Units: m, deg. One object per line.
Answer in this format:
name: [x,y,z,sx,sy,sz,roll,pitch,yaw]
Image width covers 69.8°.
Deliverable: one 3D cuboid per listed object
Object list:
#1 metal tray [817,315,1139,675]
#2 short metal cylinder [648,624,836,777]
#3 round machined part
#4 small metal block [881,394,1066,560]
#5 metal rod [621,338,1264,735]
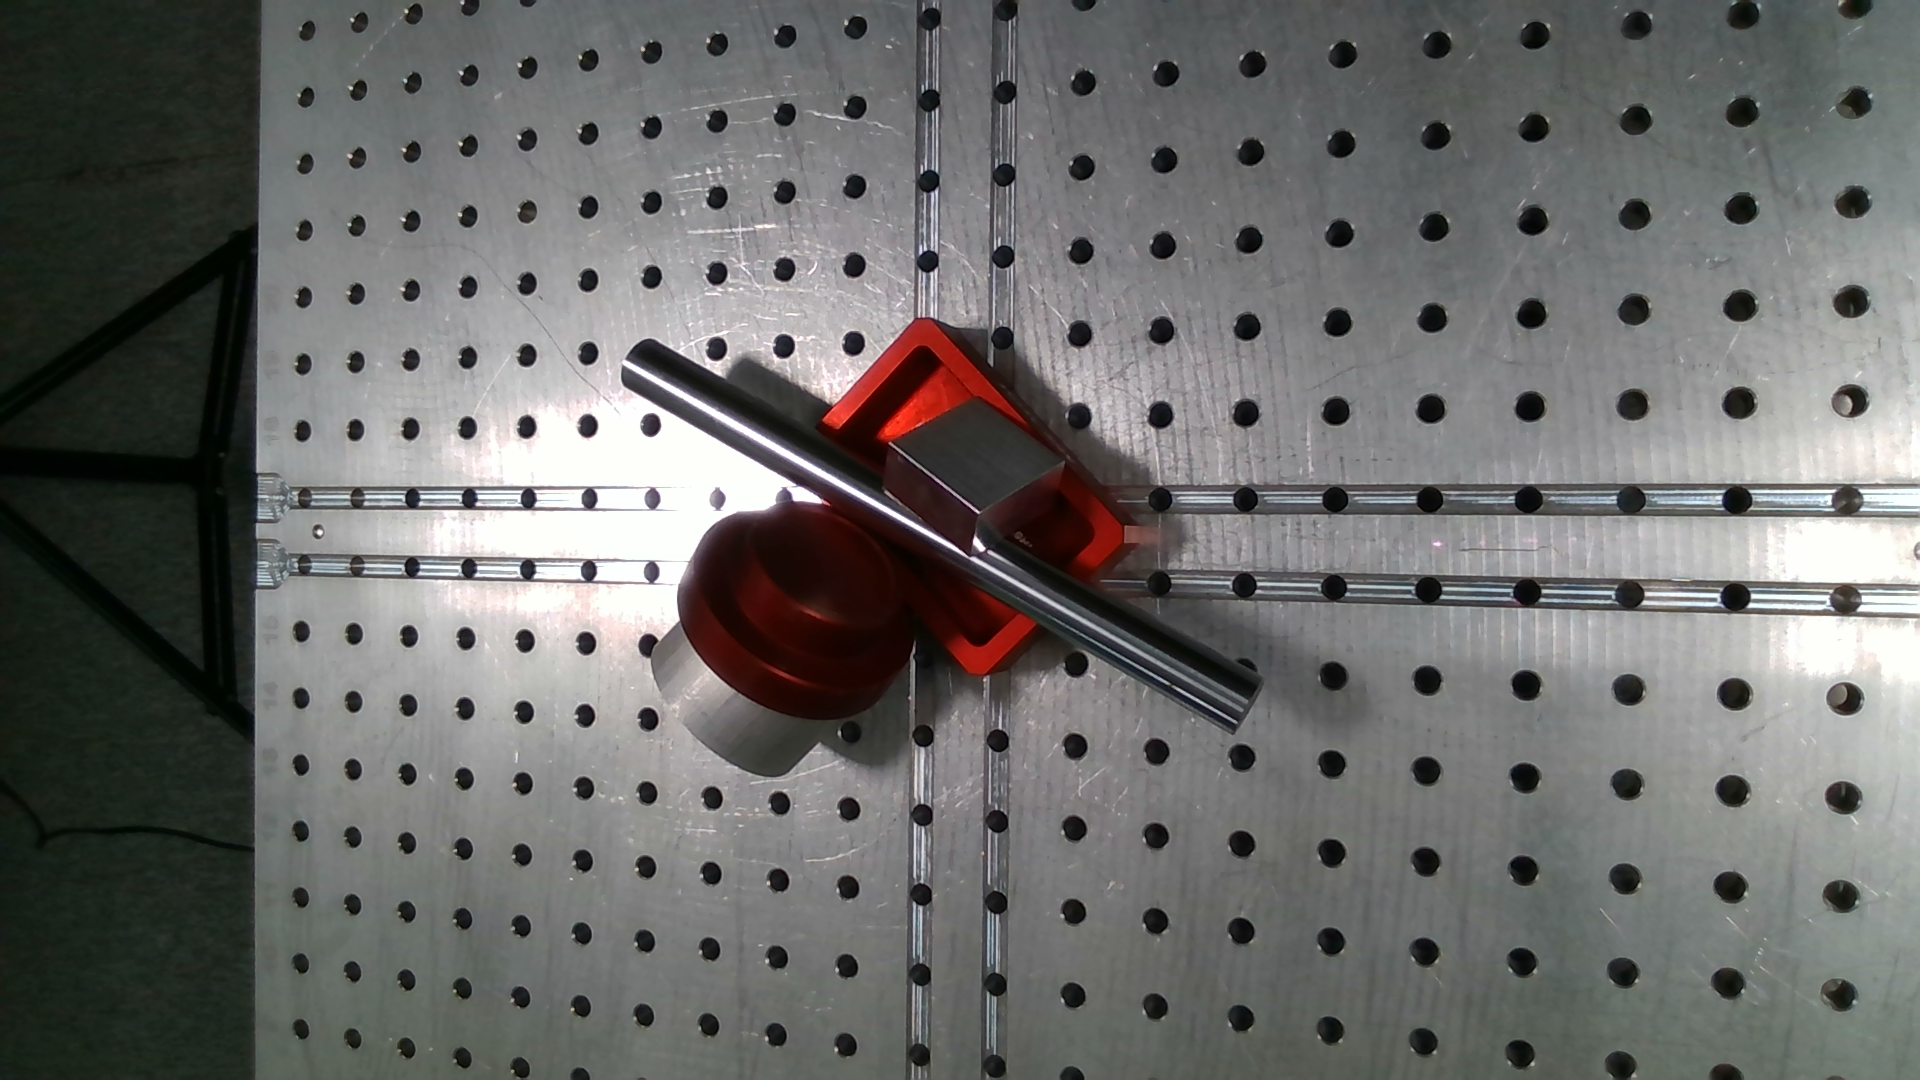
metal tray: [0.001,-0.019,0.584,0.090,0.030,0.130,-45,76,15]
short metal cylinder: [-0.086,0.054,0.590,0.050,0.080,0.080,-45,76,15]
round machined part: [-0.062,0.022,0.562,0.098,0.098,0.042,45,126,14]
small metal block: [0.005,-0.026,0.549,0.050,0.050,0.025,39,141,26]
metal rod: [-0.017,-0.008,0.562,0.300,0.025,0.025,29,100,18]
